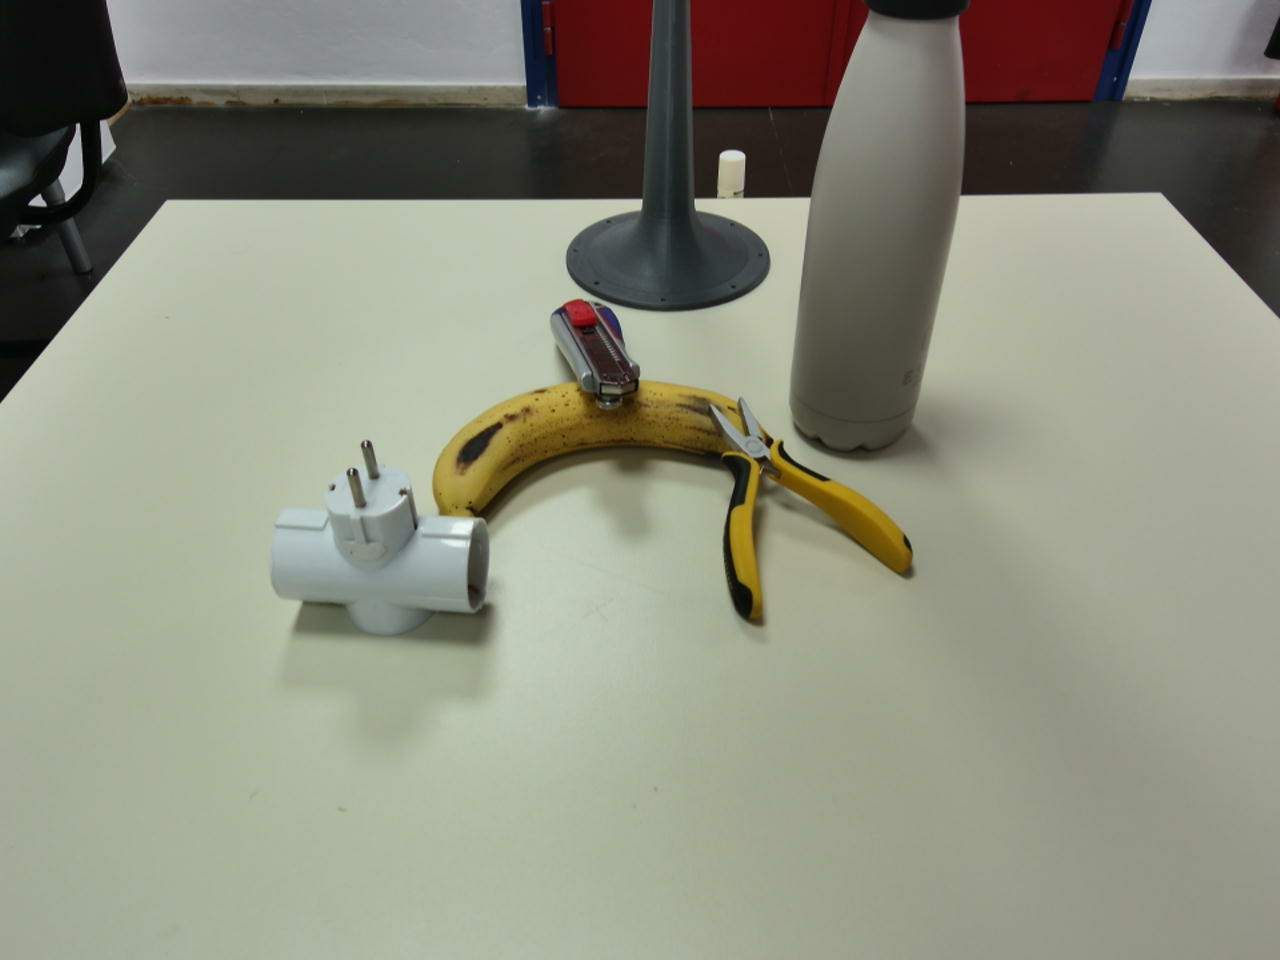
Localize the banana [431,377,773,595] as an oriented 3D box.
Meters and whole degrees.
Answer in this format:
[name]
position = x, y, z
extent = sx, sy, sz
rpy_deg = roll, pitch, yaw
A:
[banana]
position = -0.029, -0.017, 0.540
extent = 0.186, 0.038, 0.097
rpy_deg = -18, 42, -21
